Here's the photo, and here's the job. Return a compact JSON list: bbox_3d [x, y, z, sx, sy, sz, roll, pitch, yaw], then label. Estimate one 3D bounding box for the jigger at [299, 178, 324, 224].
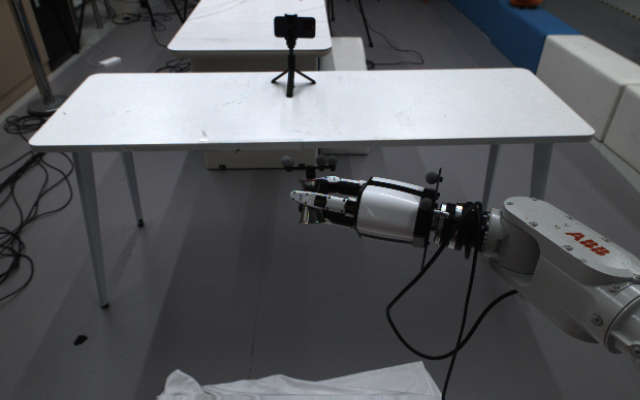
[{"bbox_3d":[-0.014,0.000,0.751,0.043,0.071,0.043,-2,3,0],"label":"jigger"}]
